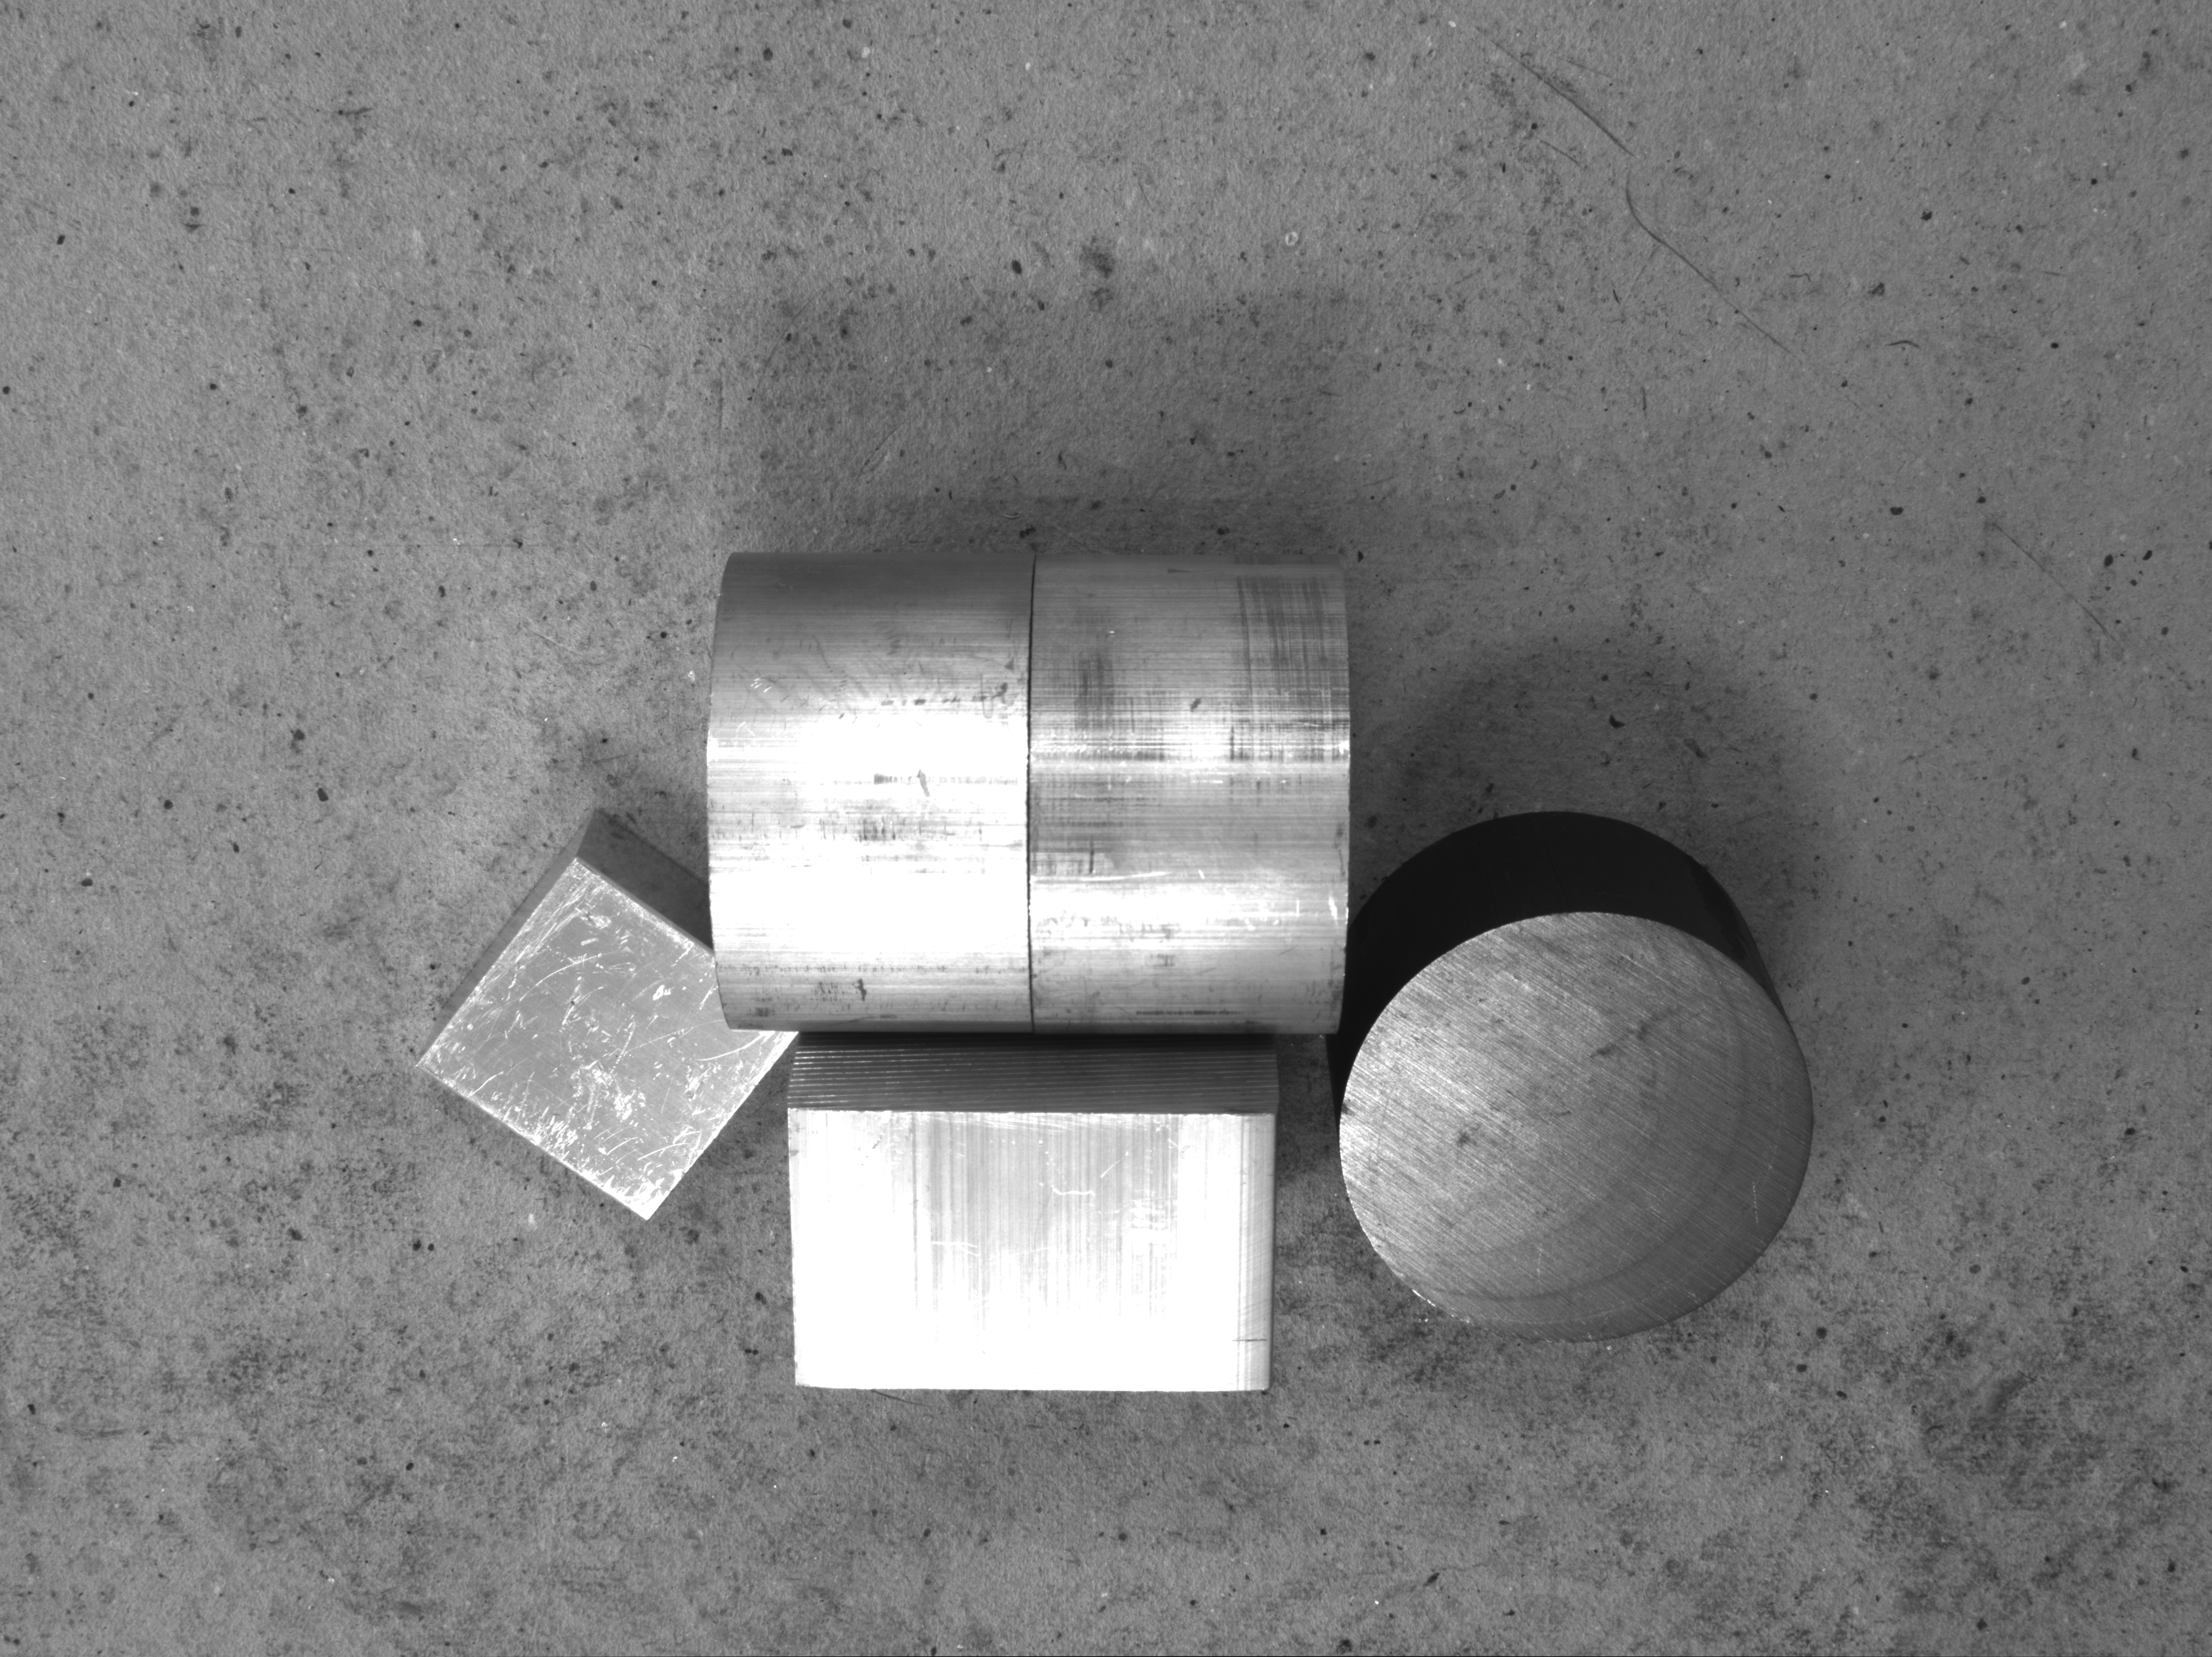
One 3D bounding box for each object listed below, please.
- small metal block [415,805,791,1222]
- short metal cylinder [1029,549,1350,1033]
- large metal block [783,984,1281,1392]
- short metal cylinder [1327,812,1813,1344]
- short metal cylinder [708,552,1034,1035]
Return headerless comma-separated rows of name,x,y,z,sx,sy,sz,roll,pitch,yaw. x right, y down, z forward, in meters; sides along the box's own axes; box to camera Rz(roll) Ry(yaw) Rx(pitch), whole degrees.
small metal block,-0.087,0.033,0.657,0.050,0.025,0.050,36,106,-12
short metal cylinder,0.013,-0.006,0.613,0.050,0.080,0.080,1,110,0
large metal block,-0.012,0.055,0.636,0.080,0.080,0.050,1,110,0
short metal cylinder,0.080,0.043,0.647,0.080,0.050,0.080,0,110,0
short metal cylinder,-0.037,-0.006,0.613,0.050,0.080,0.080,1,110,0
